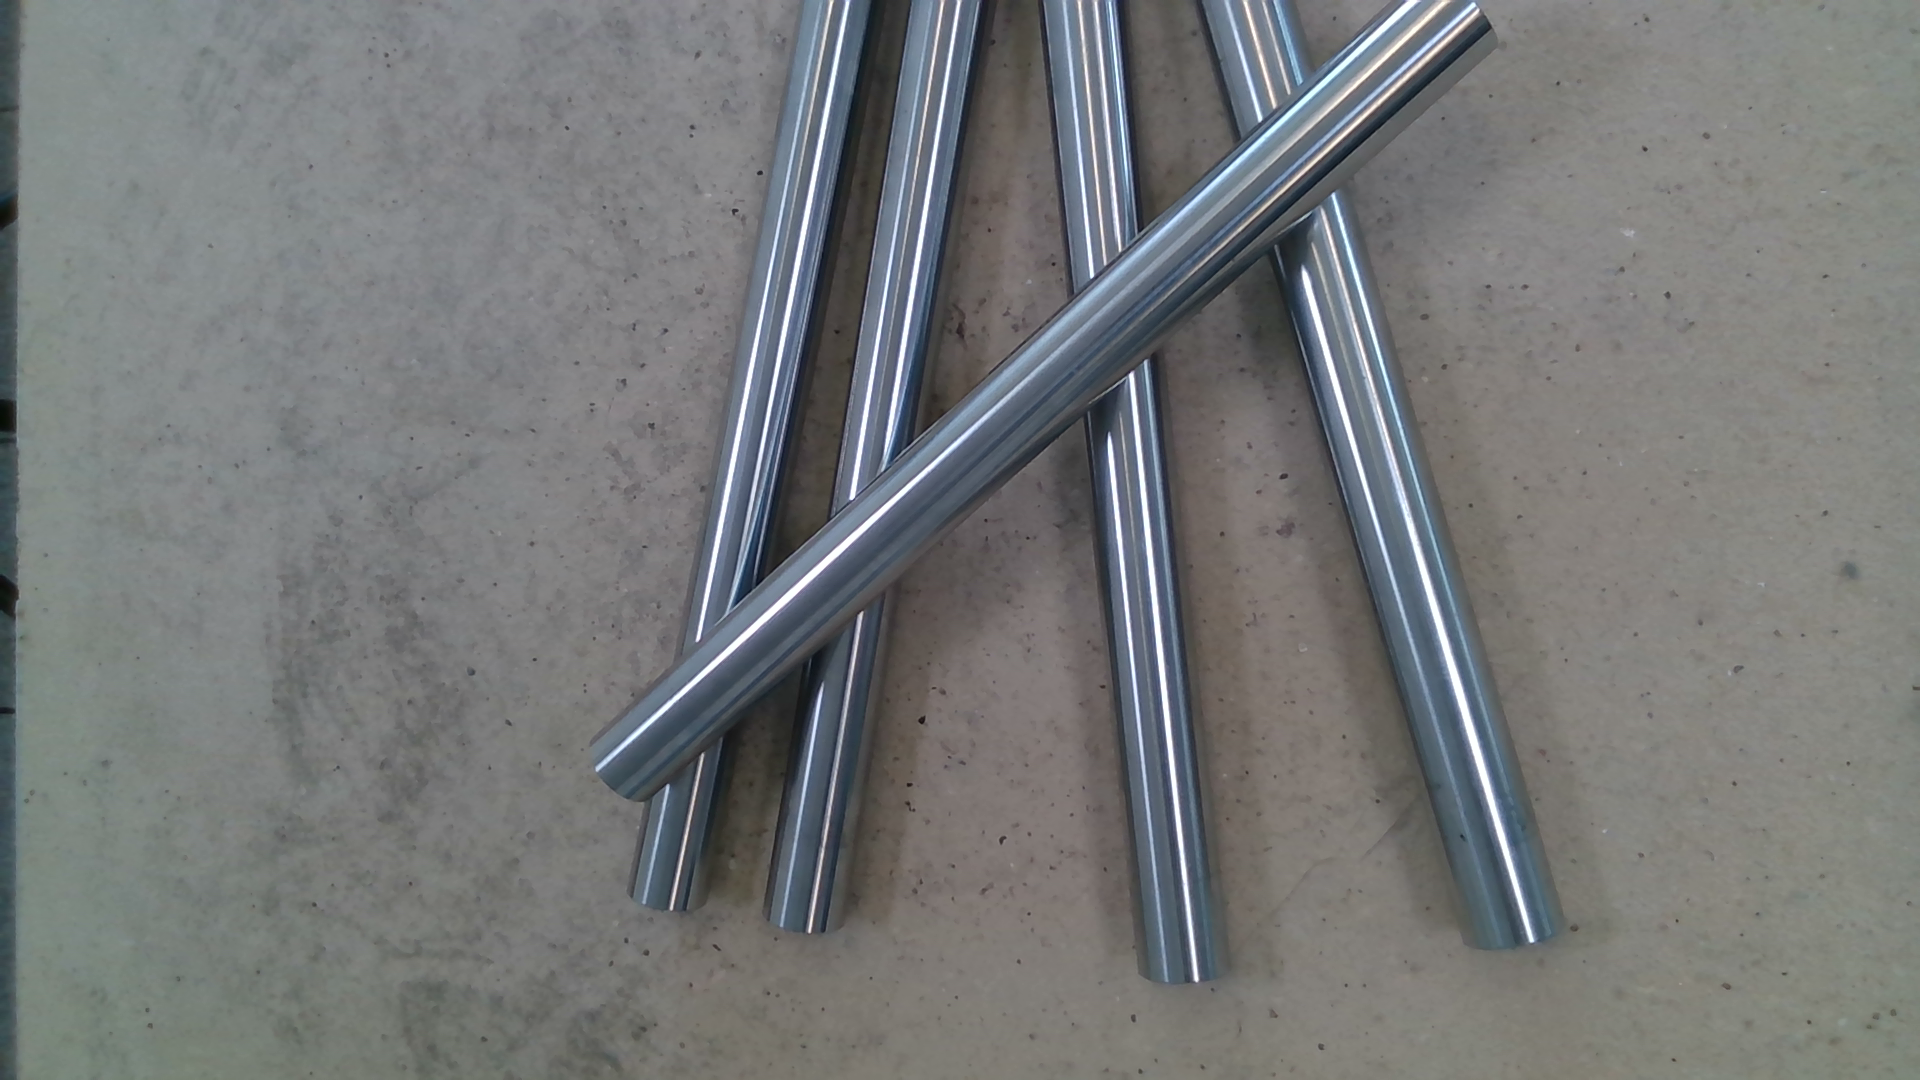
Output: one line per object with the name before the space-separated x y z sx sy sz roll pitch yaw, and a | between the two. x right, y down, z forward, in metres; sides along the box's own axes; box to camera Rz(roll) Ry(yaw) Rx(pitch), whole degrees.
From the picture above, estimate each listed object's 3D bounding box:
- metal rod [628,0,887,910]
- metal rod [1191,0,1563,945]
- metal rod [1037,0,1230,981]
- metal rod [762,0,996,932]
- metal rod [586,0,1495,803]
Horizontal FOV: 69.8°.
metal rod | -0.060 -0.036 0.416 0.025 0.025 0.300 14 95 20
metal rod | 0.100 -0.047 0.358 0.025 0.025 0.300 -16 85 19
metal rod | 0.046 -0.033 0.378 0.025 0.025 0.300 -6 88 20
metal rod | -0.022 -0.035 0.402 0.025 0.025 0.300 11 94 20
metal rod | 0.009 -0.029 0.364 0.300 0.025 0.025 -42 77 15
